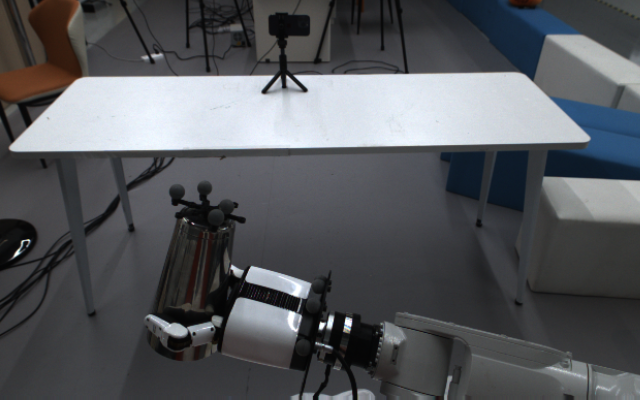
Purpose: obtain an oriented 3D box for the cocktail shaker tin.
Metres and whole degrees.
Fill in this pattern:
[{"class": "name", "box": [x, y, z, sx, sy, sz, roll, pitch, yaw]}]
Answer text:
[{"class": "cocktail shaker tin", "box": [-0.149, 0.096, 0.583, 0.093, 0.170, 0.093, 13, 20, -5]}]
